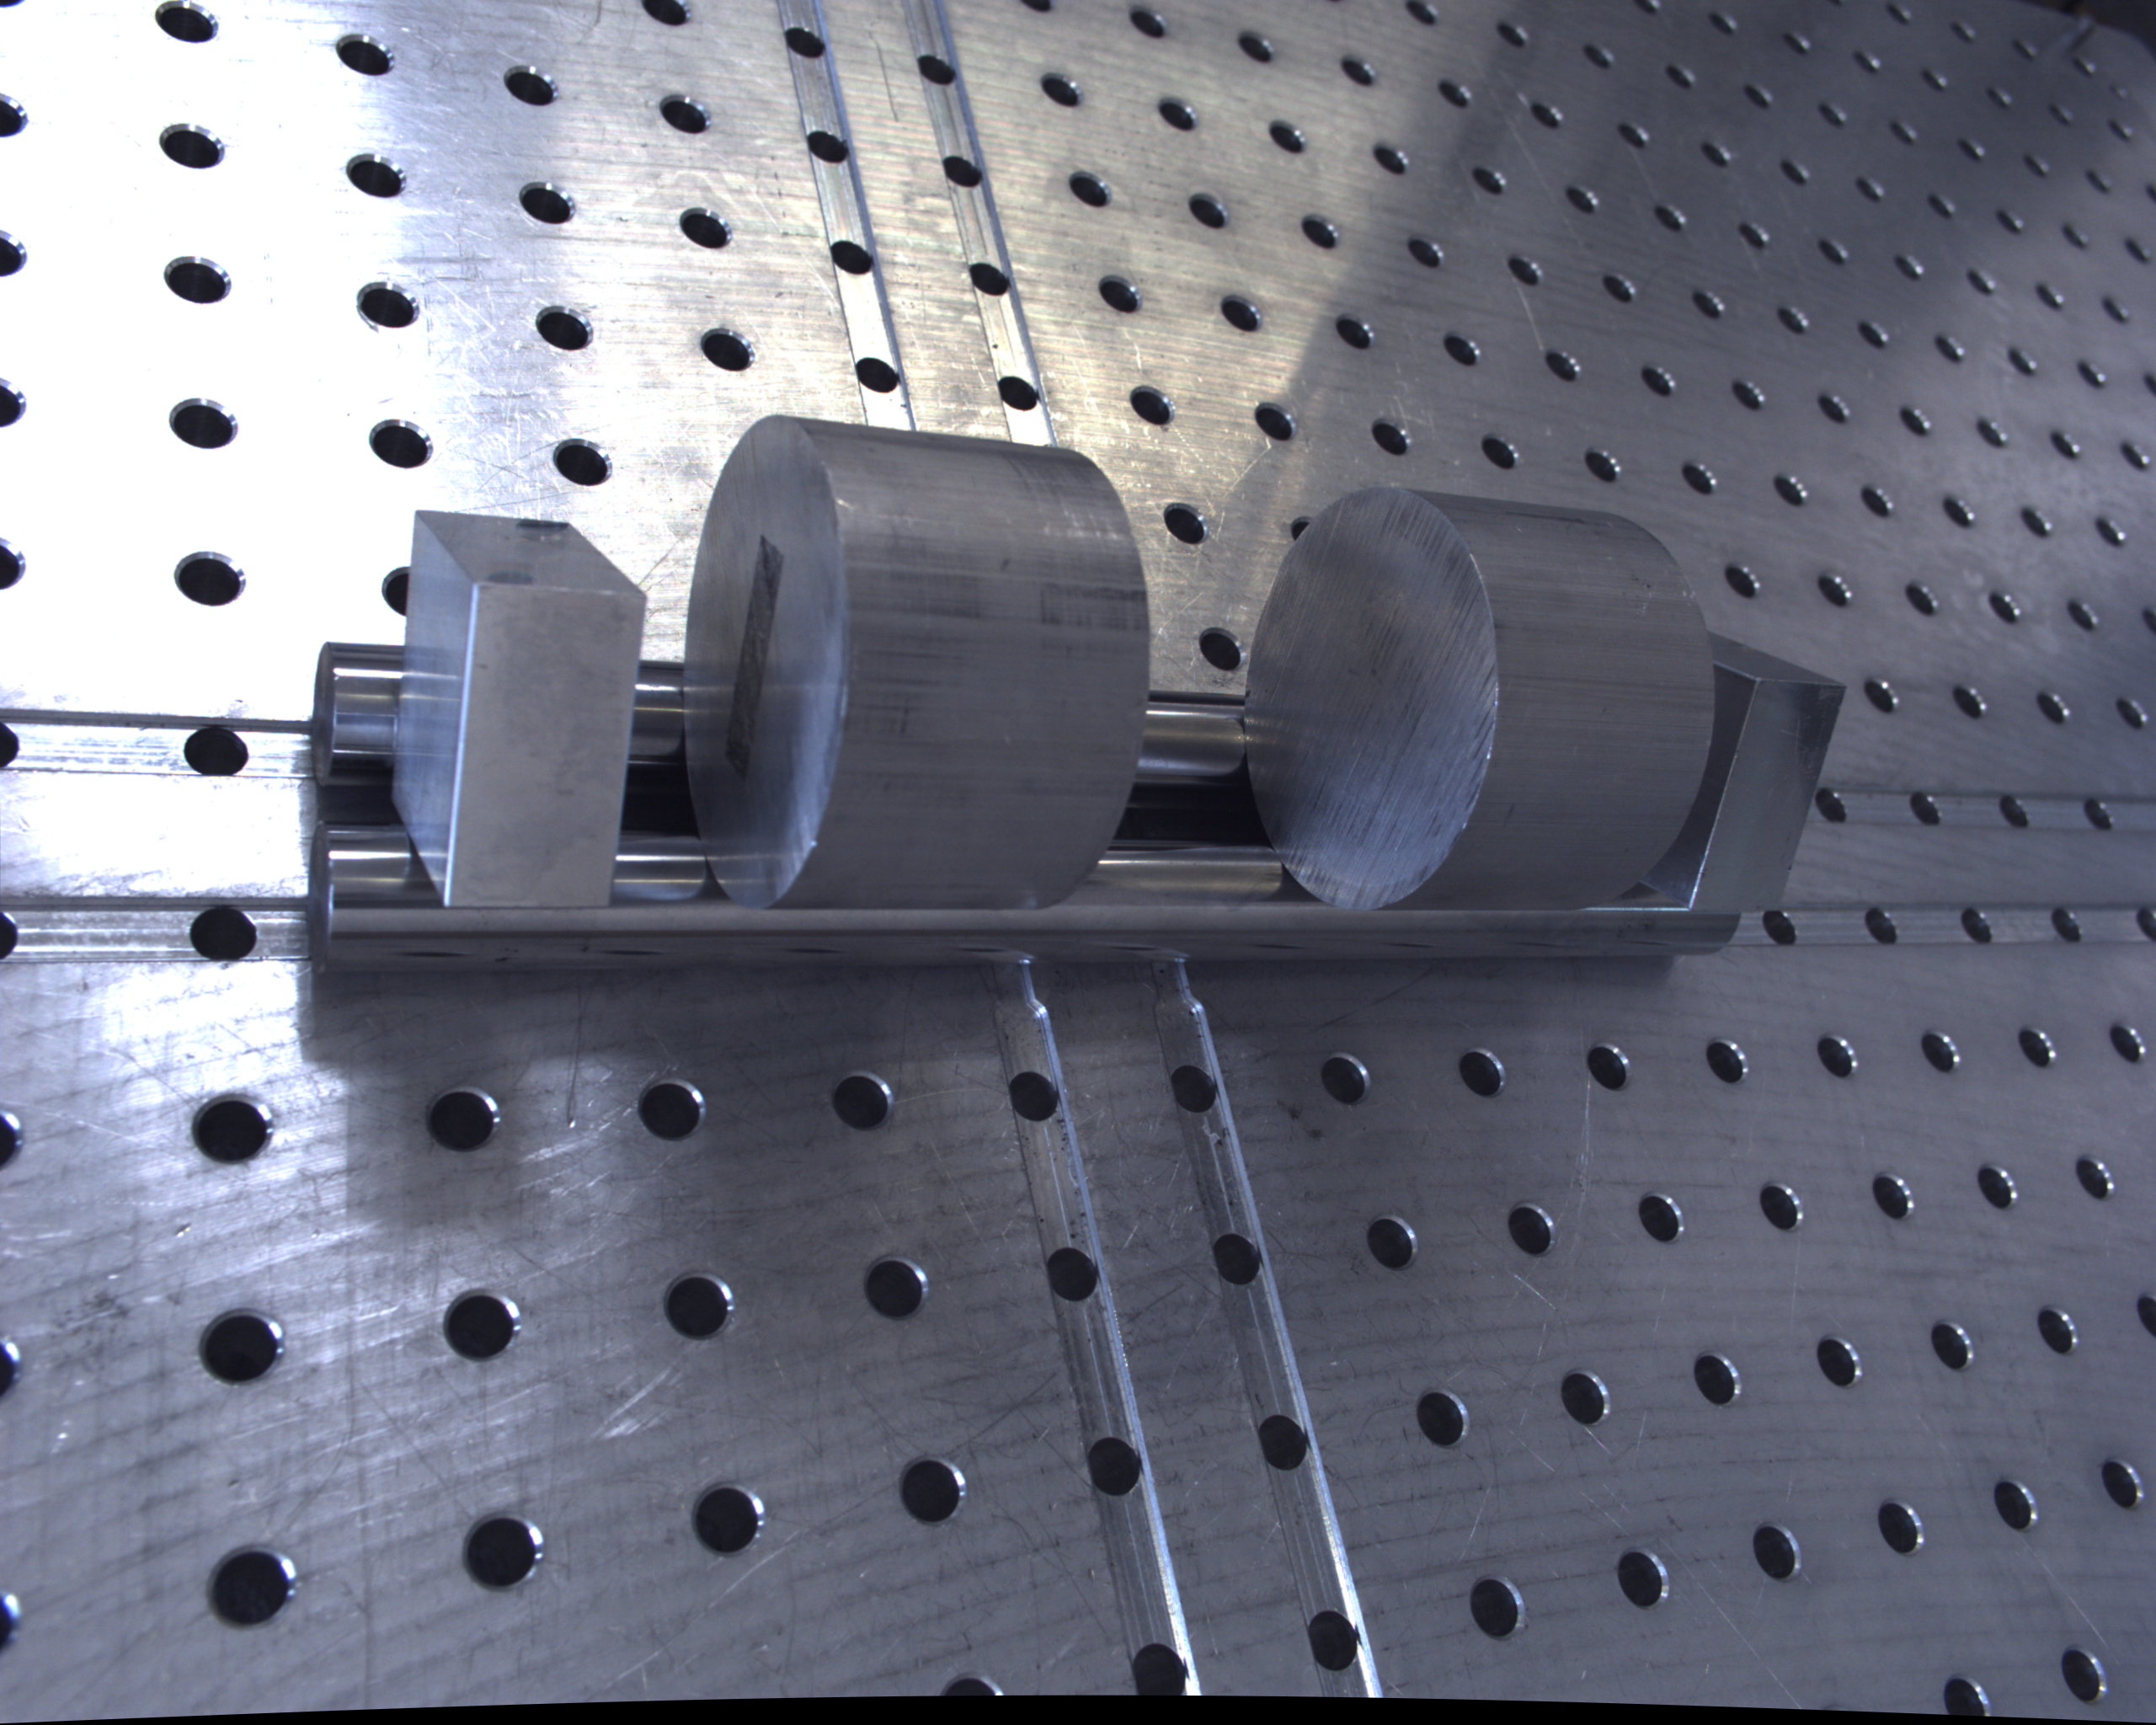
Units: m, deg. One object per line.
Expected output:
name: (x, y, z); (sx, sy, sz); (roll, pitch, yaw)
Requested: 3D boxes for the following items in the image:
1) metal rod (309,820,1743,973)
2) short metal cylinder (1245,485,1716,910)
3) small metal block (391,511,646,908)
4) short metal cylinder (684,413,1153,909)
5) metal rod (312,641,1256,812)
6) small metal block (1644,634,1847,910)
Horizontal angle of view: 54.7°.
metal rod: (0.010, 0.007, 0.409); (0.303, 0.025, 0.025); (1, 62, -28)
short metal cylinder: (0.075, -0.031, 0.404); (0.050, 0.080, 0.080); (1, 62, -28)
small metal block: (-0.090, -0.025, 0.330); (0.025, 0.050, 0.050); (1, 20, -28)
short metal cylinder: (-0.029, -0.032, 0.348); (0.050, 0.080, 0.080); (1, 62, -28)
metal rod: (0.005, -0.023, 0.425); (0.303, 0.025, 0.025); (1, 62, -28)
small metal block: (0.130, -0.022, 0.446); (0.025, 0.050, 0.050); (0, 21, -28)
